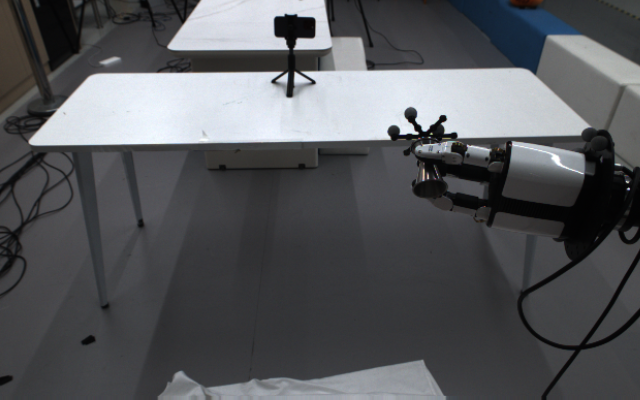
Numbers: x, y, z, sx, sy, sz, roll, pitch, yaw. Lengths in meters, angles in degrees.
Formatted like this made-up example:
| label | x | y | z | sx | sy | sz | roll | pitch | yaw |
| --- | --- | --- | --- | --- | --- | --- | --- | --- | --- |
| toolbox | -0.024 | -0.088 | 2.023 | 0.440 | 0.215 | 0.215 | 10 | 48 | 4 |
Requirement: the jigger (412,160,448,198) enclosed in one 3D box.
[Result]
| label | x | y | z | sx | sy | sz | roll | pitch | yaw |
| --- | --- | --- | --- | --- | --- | --- | --- | --- | --- |
| jigger | 0.139 | -0.046 | 0.623 | 0.043 | 0.043 | 0.071 | 2 | 59 | -1 |
